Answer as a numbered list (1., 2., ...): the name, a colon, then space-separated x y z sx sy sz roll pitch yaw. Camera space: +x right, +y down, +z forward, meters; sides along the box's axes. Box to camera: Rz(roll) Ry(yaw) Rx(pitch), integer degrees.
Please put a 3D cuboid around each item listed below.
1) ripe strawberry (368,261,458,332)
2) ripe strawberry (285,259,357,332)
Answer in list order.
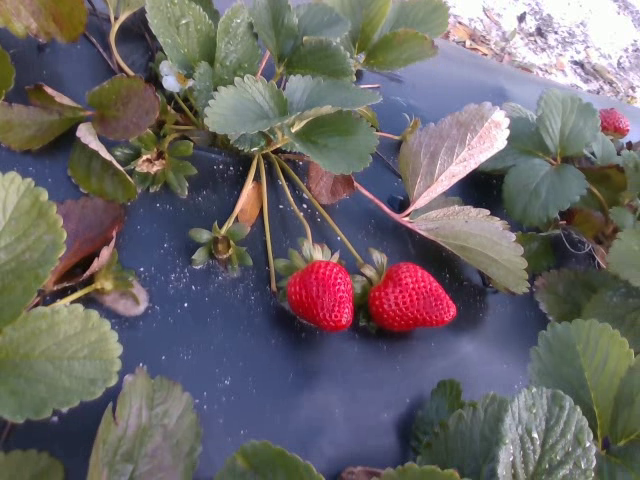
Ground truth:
1. ripe strawberry: 0.065 0.039 0.401 0.064 0.051 0.057 24 50 29
2. ripe strawberry: 0.005 0.038 0.383 0.048 0.041 0.056 -5 44 -25
